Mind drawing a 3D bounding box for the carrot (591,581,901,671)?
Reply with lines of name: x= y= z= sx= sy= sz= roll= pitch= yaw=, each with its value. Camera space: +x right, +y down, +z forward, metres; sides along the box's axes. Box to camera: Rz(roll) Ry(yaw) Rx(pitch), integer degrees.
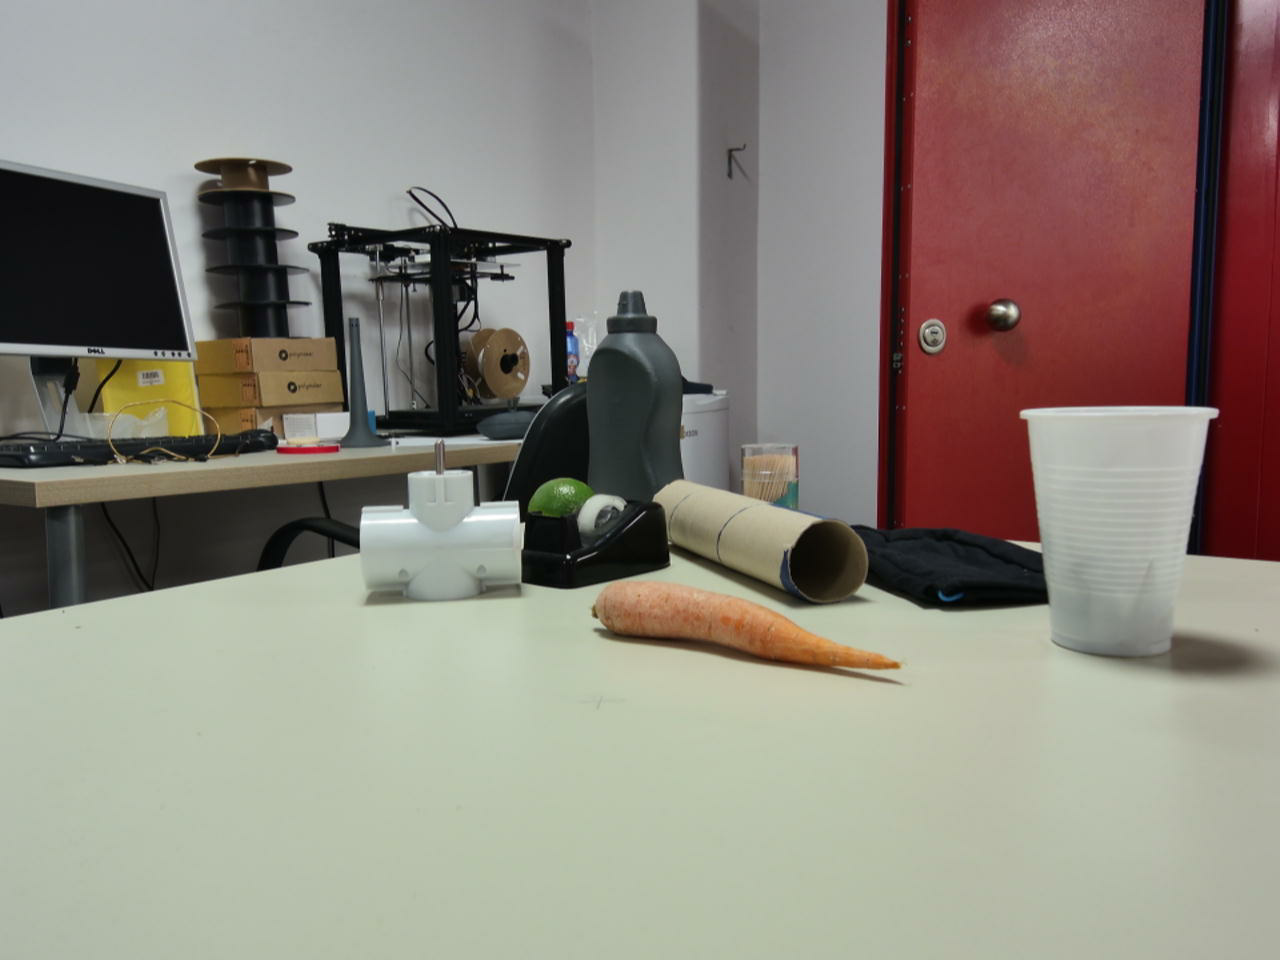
carrot: x=0.041 y=0.066 z=0.459 sx=0.163 sy=0.029 sz=0.031 roll=3 pitch=5 yaw=37
